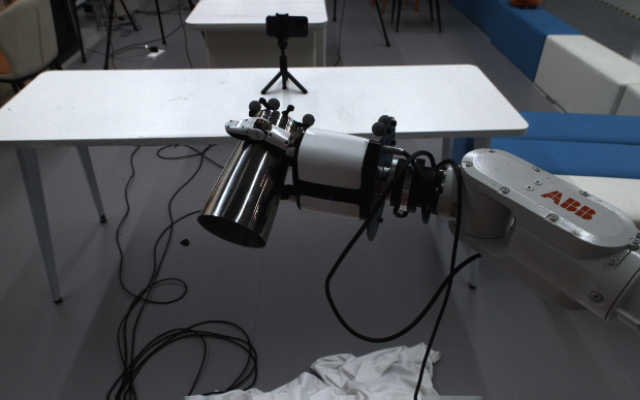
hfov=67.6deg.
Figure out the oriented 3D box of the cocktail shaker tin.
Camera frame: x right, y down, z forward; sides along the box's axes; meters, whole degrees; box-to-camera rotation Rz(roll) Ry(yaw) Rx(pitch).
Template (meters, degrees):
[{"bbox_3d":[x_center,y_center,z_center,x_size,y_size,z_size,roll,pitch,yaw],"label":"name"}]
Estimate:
[{"bbox_3d":[-0.083,-0.036,0.638,0.093,0.093,0.170,12,65,15],"label":"cocktail shaker tin"}]
